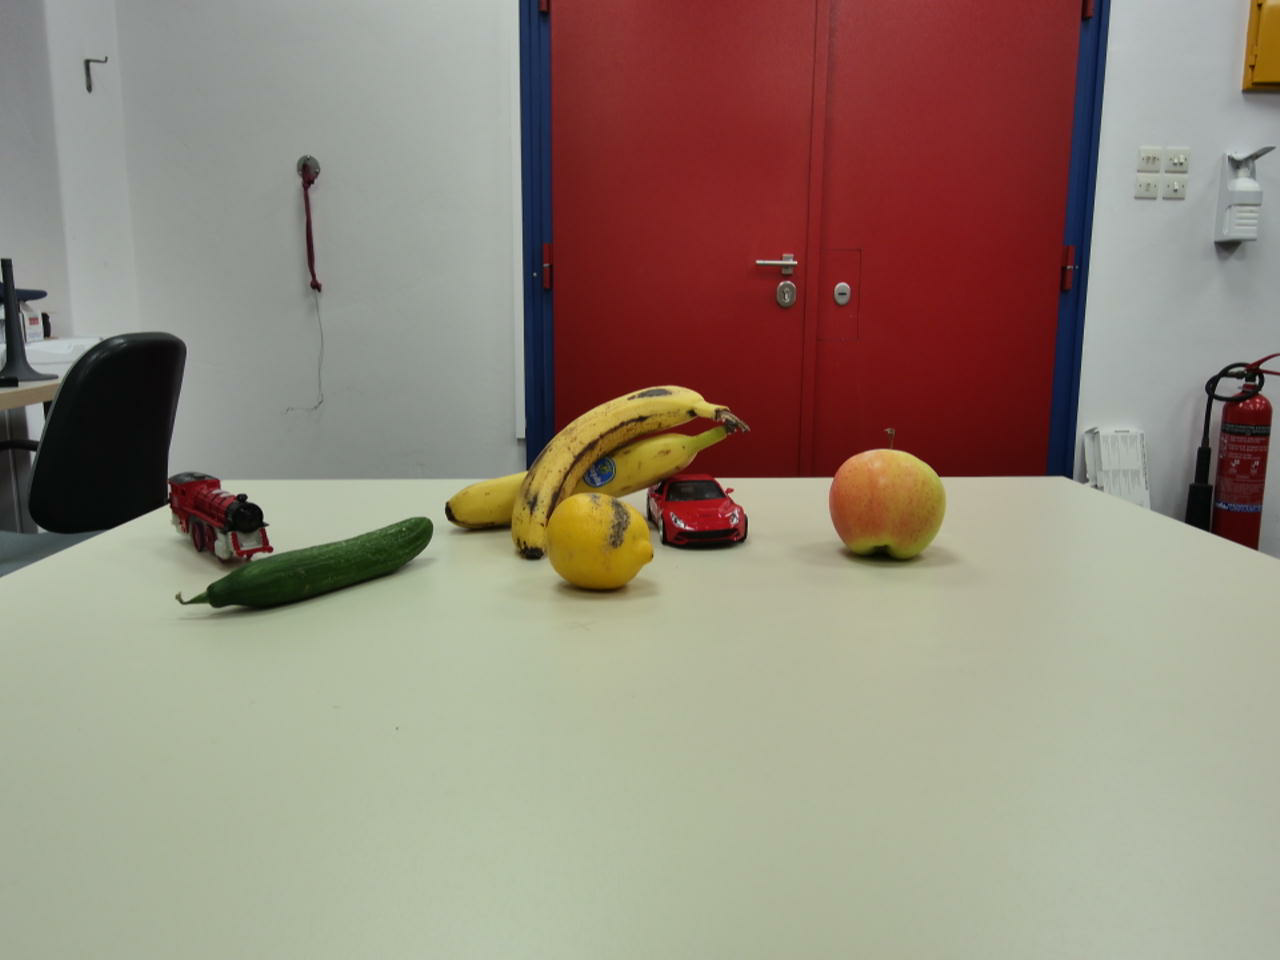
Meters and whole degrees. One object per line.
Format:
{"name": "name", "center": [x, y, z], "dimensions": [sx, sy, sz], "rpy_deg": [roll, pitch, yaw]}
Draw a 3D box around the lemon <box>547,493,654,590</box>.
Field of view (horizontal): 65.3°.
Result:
{"name": "lemon", "center": [-0.025, 0.036, 0.592], "dimensions": [0.061, 0.056, 0.058], "rpy_deg": [0, 8, -8]}
